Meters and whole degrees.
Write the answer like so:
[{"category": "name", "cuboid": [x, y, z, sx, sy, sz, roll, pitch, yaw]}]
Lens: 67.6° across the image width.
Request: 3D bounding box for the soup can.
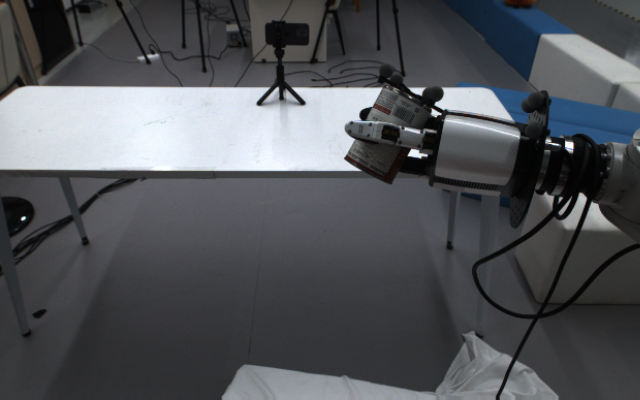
[{"category": "soup can", "cuboid": [0.084, -0.080, 0.593, 0.067, 0.101, 0.067, 27, 10, -5]}]
